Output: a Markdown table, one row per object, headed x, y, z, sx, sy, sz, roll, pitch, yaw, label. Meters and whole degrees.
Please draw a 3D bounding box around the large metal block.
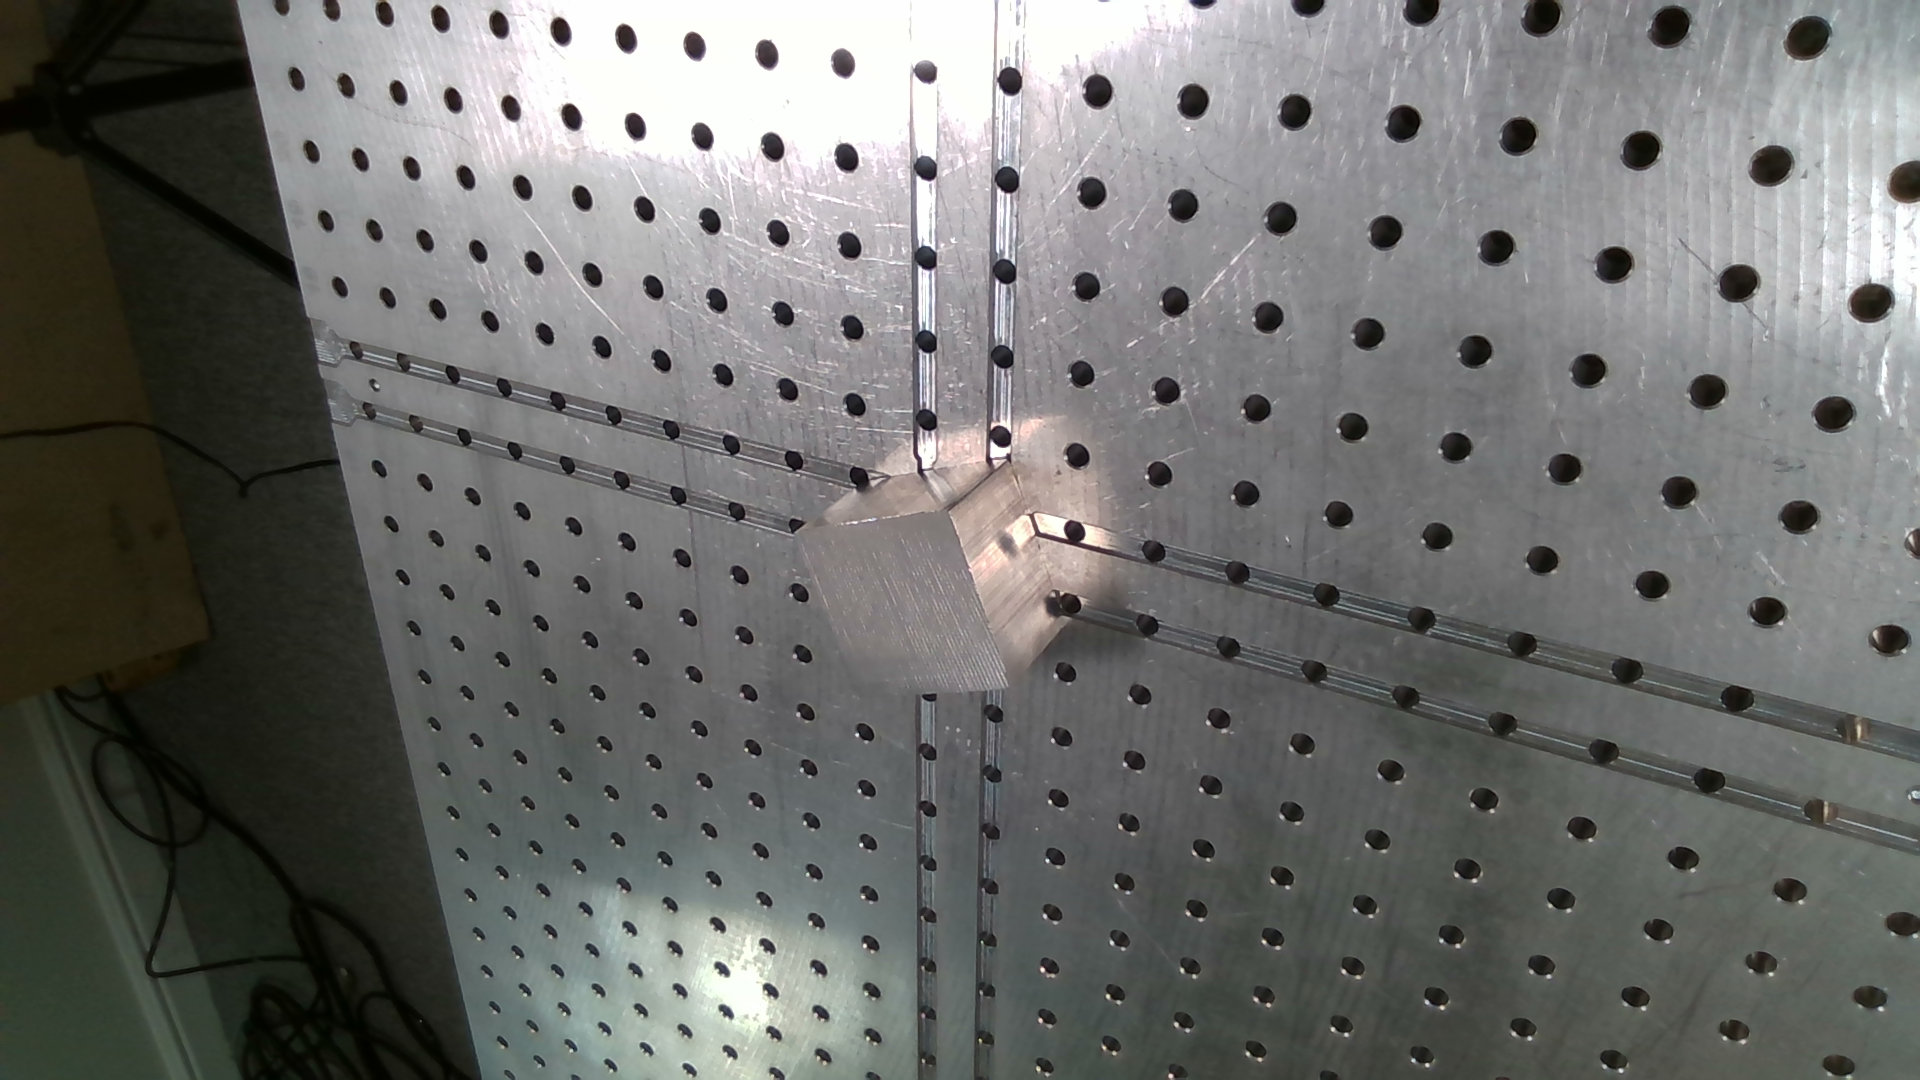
| x | y | z | sx | sy | sz | roll | pitch | yaw | label |
| --- | --- | --- | --- | --- | --- | --- | --- | --- | --- |
| -0.014 | 0.018 | 0.581 | 0.080 | 0.050 | 0.080 | -7 | 111 | 34 | large metal block |
